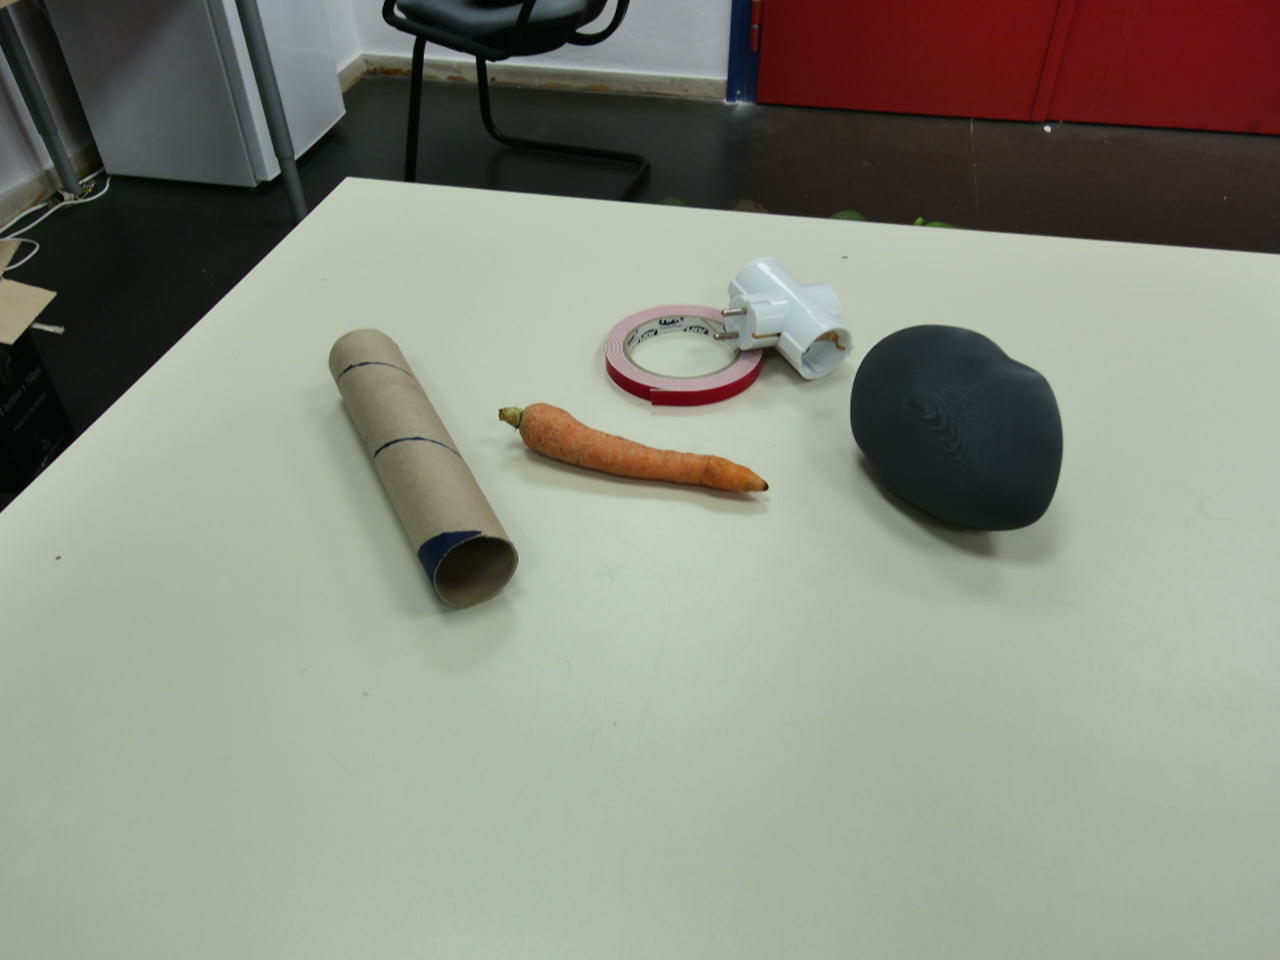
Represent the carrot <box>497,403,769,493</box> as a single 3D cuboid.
[{"bbox_3d":[-0.005,-0.017,0.595,0.173,0.032,0.030,14,41,17],"label":"carrot"}]
